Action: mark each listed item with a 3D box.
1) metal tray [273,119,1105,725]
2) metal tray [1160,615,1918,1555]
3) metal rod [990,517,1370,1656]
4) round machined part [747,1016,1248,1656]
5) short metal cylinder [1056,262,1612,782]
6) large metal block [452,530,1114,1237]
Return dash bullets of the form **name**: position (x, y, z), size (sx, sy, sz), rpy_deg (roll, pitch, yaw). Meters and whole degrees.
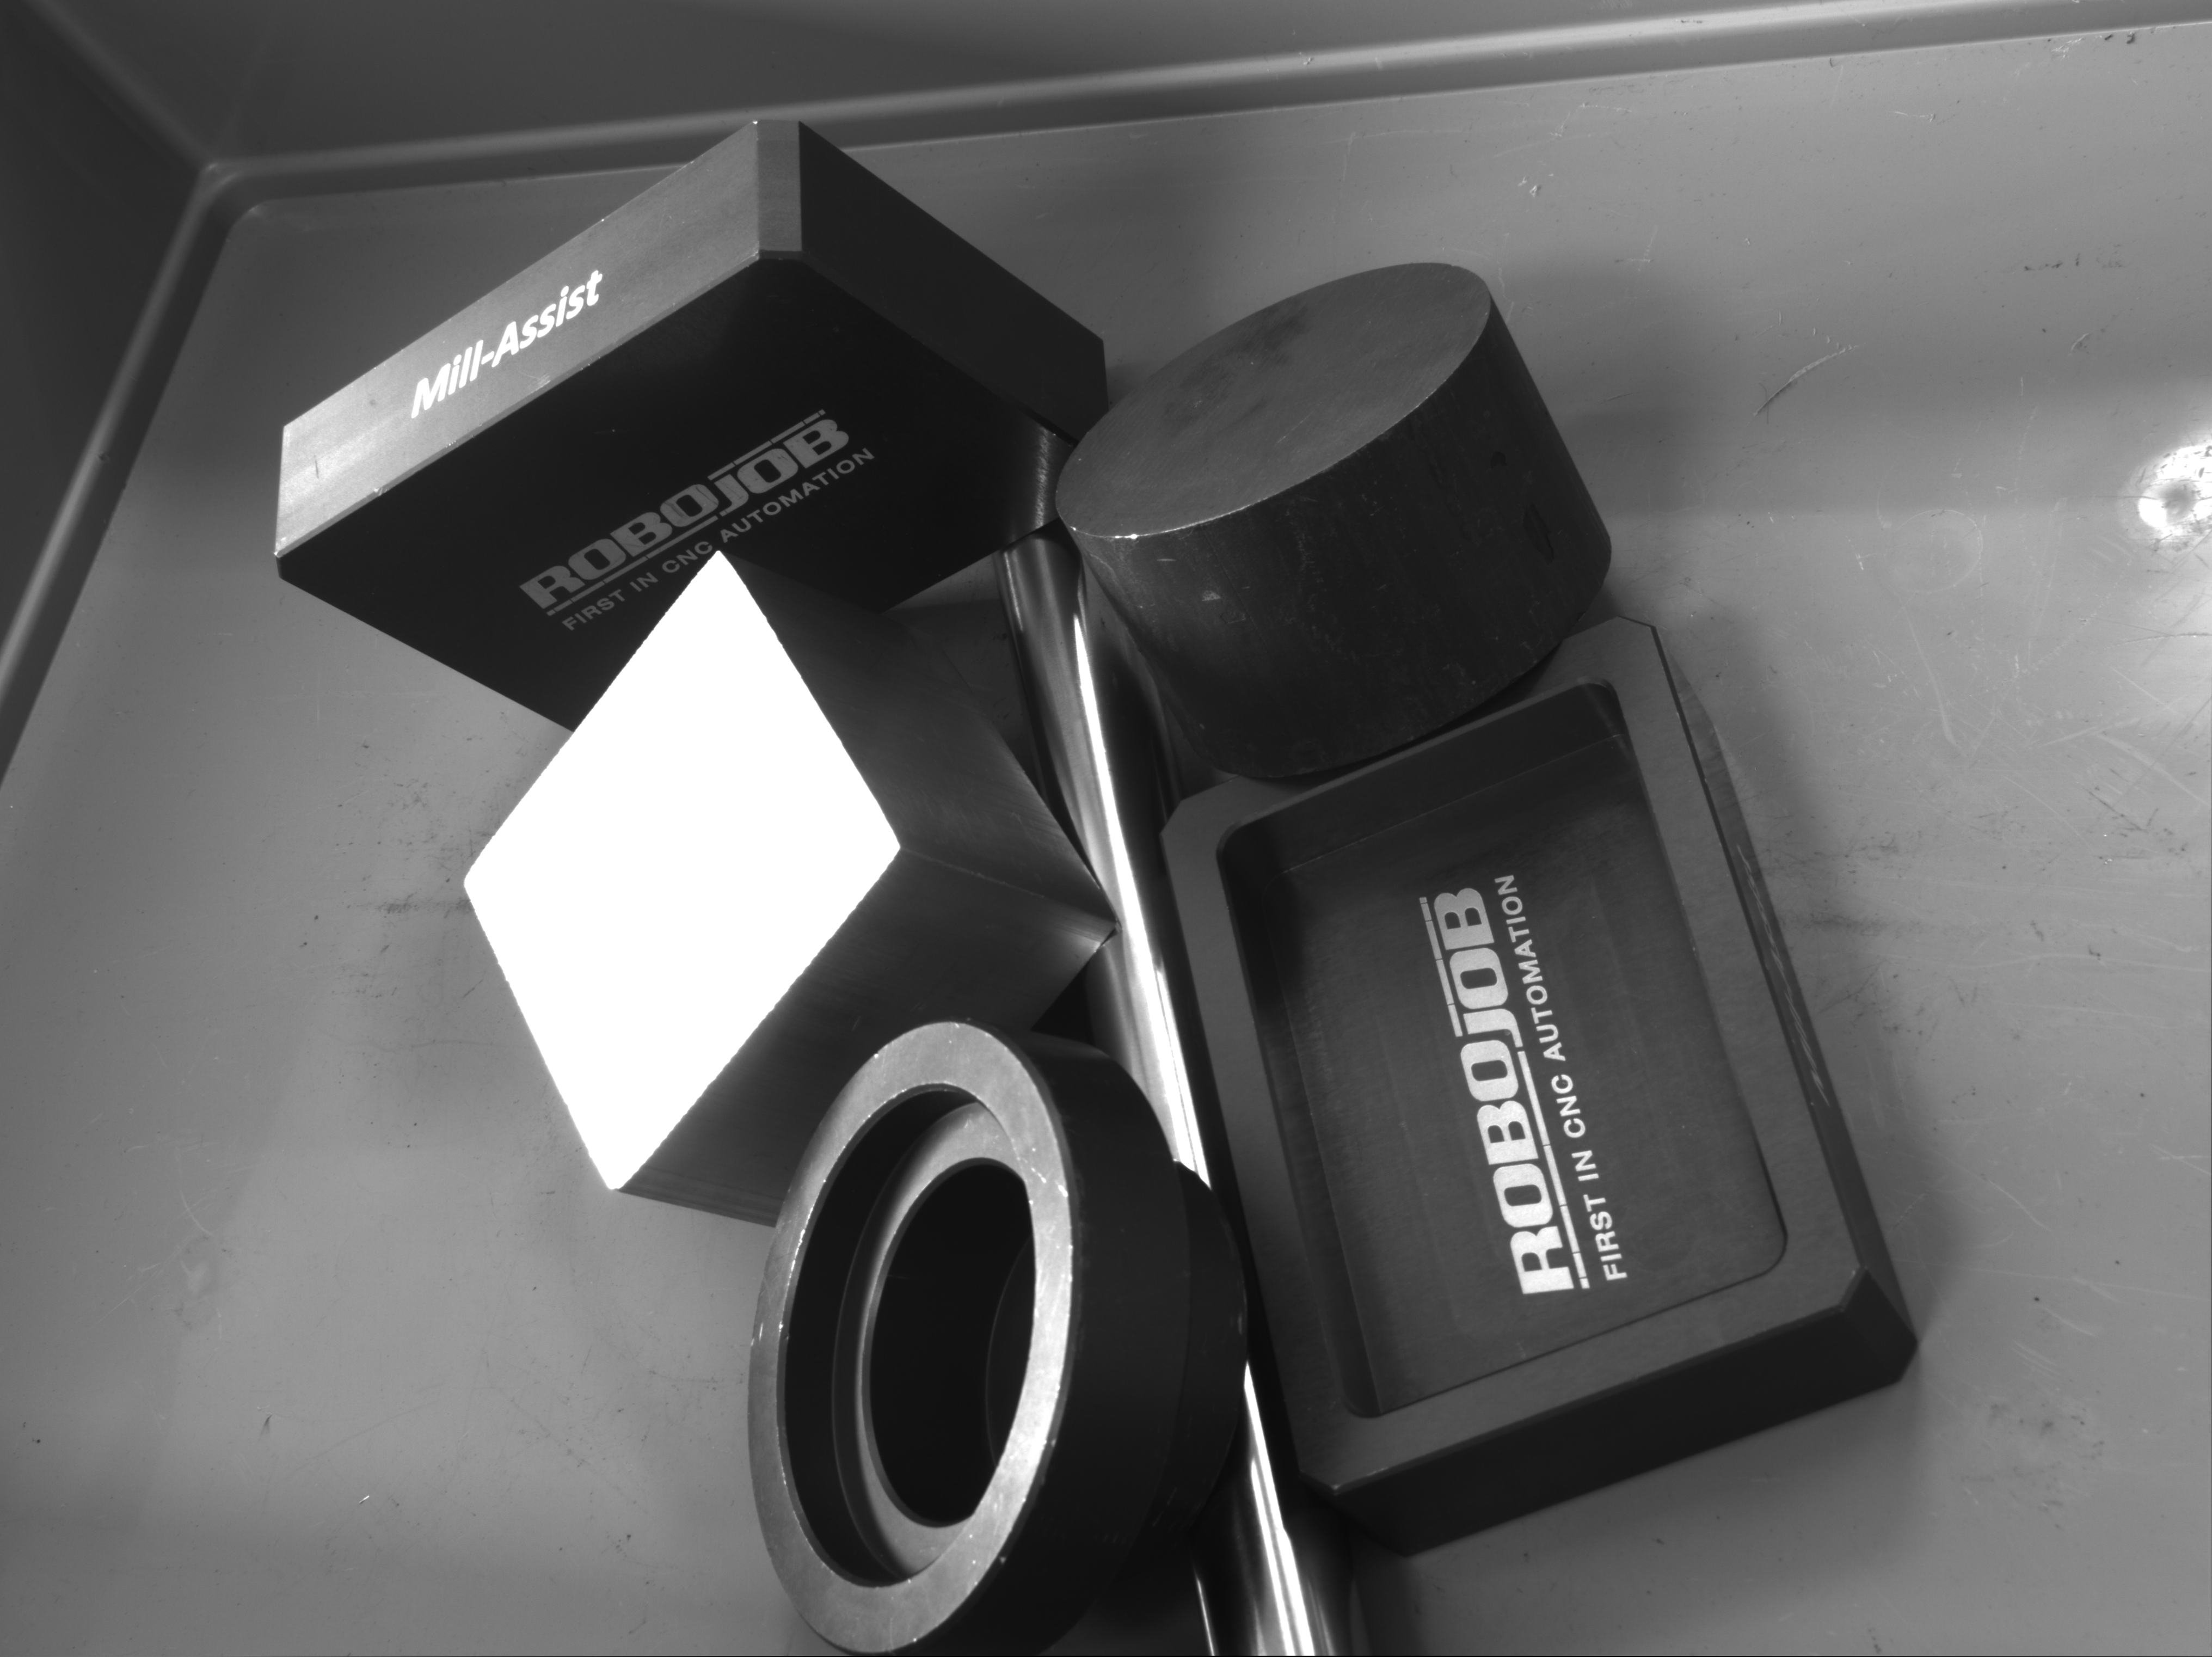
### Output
- **metal tray**: position (-0.076, -0.067, 0.666), size (0.130, 0.090, 0.030), rpy_deg (-26, 53, 31)
- **metal tray**: position (0.065, 0.039, 0.582), size (0.090, 0.030, 0.130), rpy_deg (-23, 53, 15)
- **metal rod**: position (0.007, 0.028, 0.623), size (0.025, 0.025, 0.300), rpy_deg (-23, 53, 15)
- **round machined part**: position (-0.014, 0.081, 0.572), size (0.098, 0.042, 0.098), rpy_deg (-28, 55, 51)
- **short metal cylinder**: position (0.039, -0.052, 0.620), size (0.080, 0.050, 0.080), rpy_deg (-24, 26, 13)
- **large metal block**: position (-0.057, 0.010, 0.629), size (0.080, 0.050, 0.080), rpy_deg (-48, 49, 18)
